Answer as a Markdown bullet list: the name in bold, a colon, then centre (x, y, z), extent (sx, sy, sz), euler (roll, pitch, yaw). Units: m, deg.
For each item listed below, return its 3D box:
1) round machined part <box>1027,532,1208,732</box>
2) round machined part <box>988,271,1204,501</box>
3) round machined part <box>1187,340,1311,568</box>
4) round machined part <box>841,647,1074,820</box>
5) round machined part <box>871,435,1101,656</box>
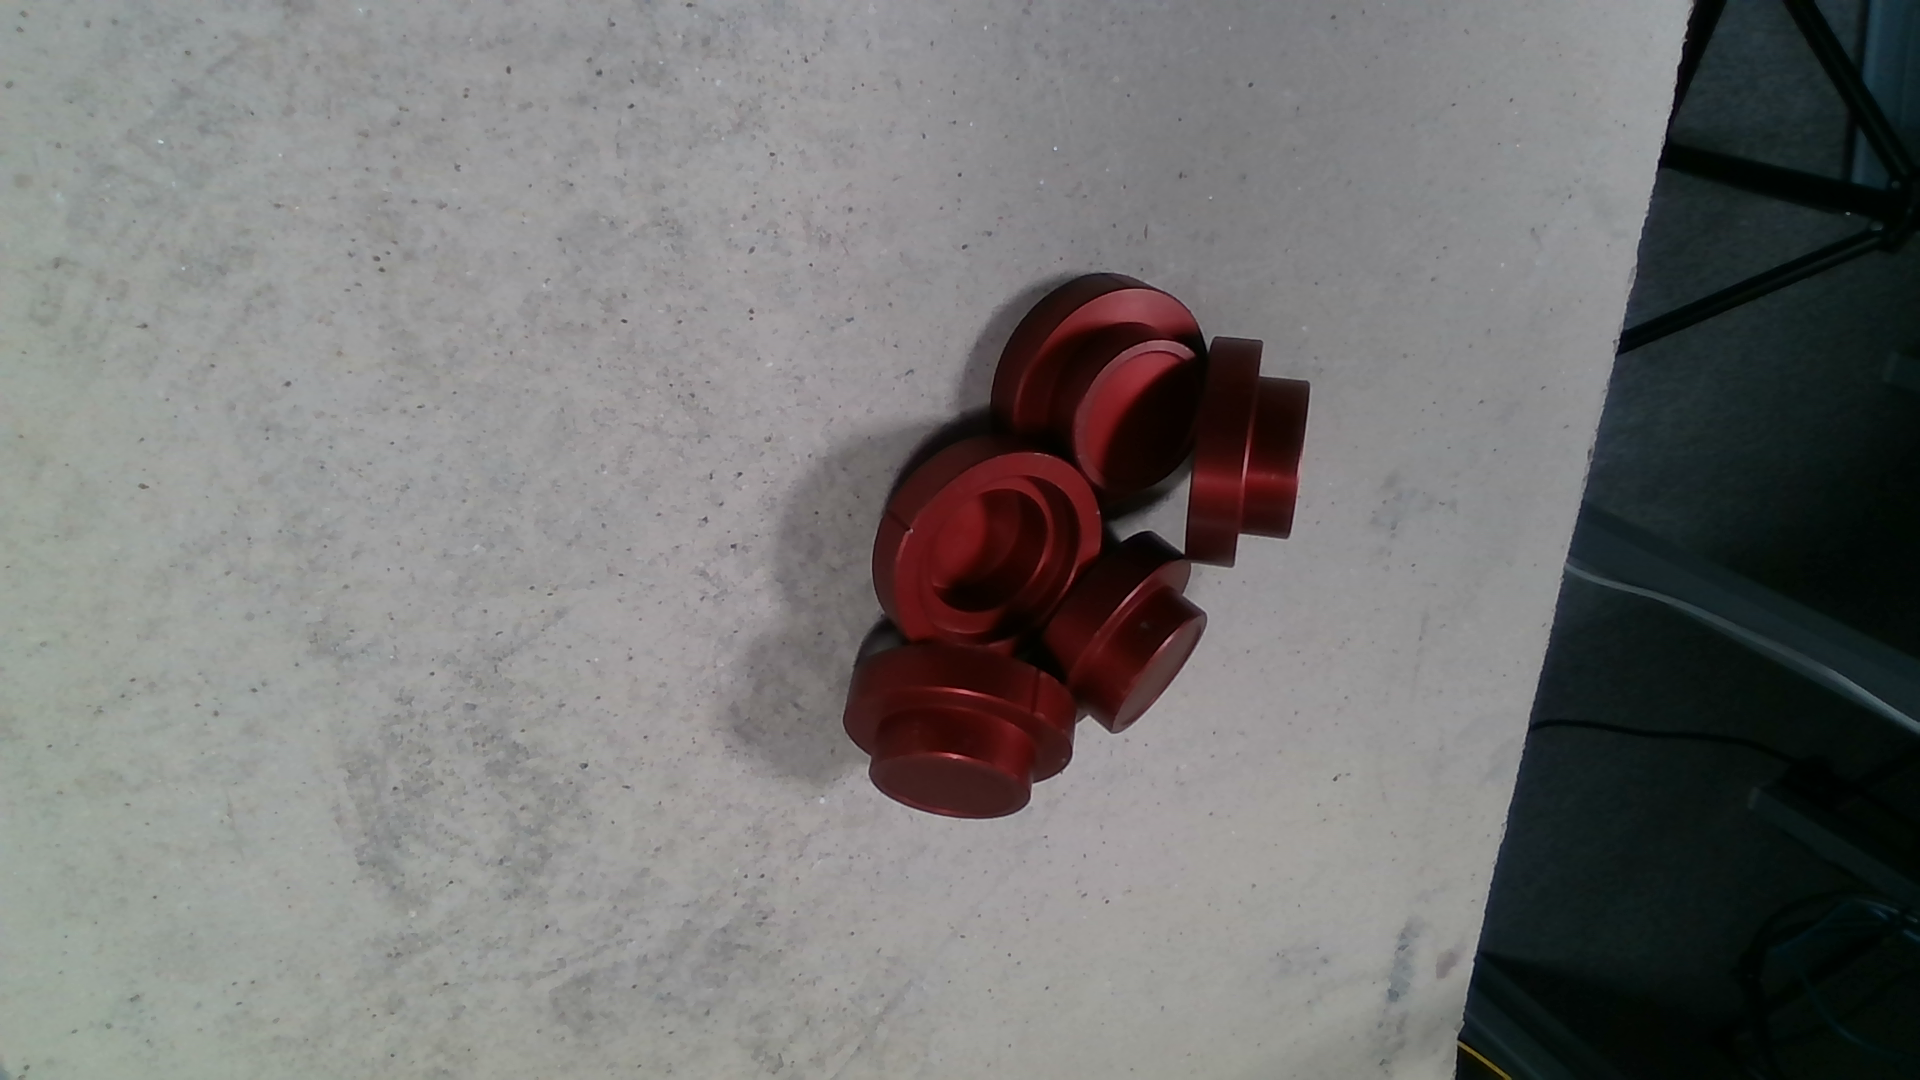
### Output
- **round machined part**: centre (0.073, 0.048, 0.612), extent (0.098, 0.042, 0.098), euler (-43, 159, -22)
- **round machined part**: centre (0.064, -0.060, 0.579), extent (0.098, 0.042, 0.098), euler (-14, 122, -25)
- **round machined part**: centre (0.124, -0.036, 0.589), extent (0.042, 0.098, 0.098), euler (7, 119, 11)
- **round machined part**: centre (-0.003, 0.086, 0.579), extent (0.098, 0.098, 0.042), euler (39, 50, -39)
- **round machined part**: centre (0.007, 0.001, 0.574), extent (0.098, 0.042, 0.098), euler (-14, 122, -25)
